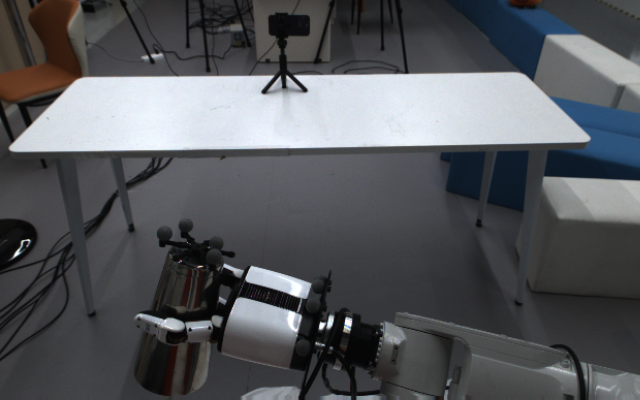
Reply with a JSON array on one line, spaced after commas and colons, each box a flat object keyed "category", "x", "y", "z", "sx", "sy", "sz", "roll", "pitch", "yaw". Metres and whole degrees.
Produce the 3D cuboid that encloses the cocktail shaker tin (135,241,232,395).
[{"category": "cocktail shaker tin", "x": -0.169, "y": 0.142, "z": 0.597, "sx": 0.093, "sy": 0.170, "sz": 0.093, "roll": 15, "pitch": 17, "yaw": -5}]
